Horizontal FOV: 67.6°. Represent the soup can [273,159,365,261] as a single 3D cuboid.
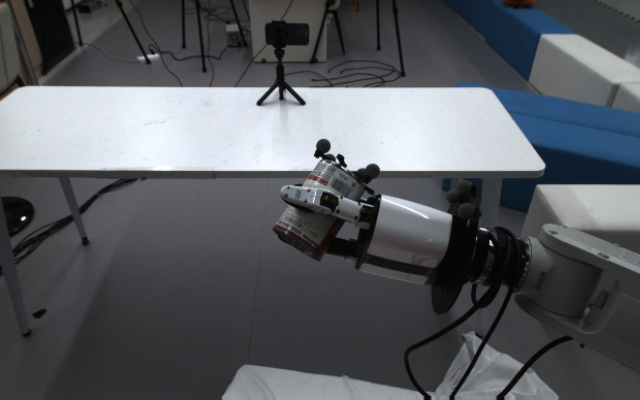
[{"bbox_3d":[0.000,0.009,0.573,0.067,0.067,0.101,27,76,31],"label":"soup can"}]
